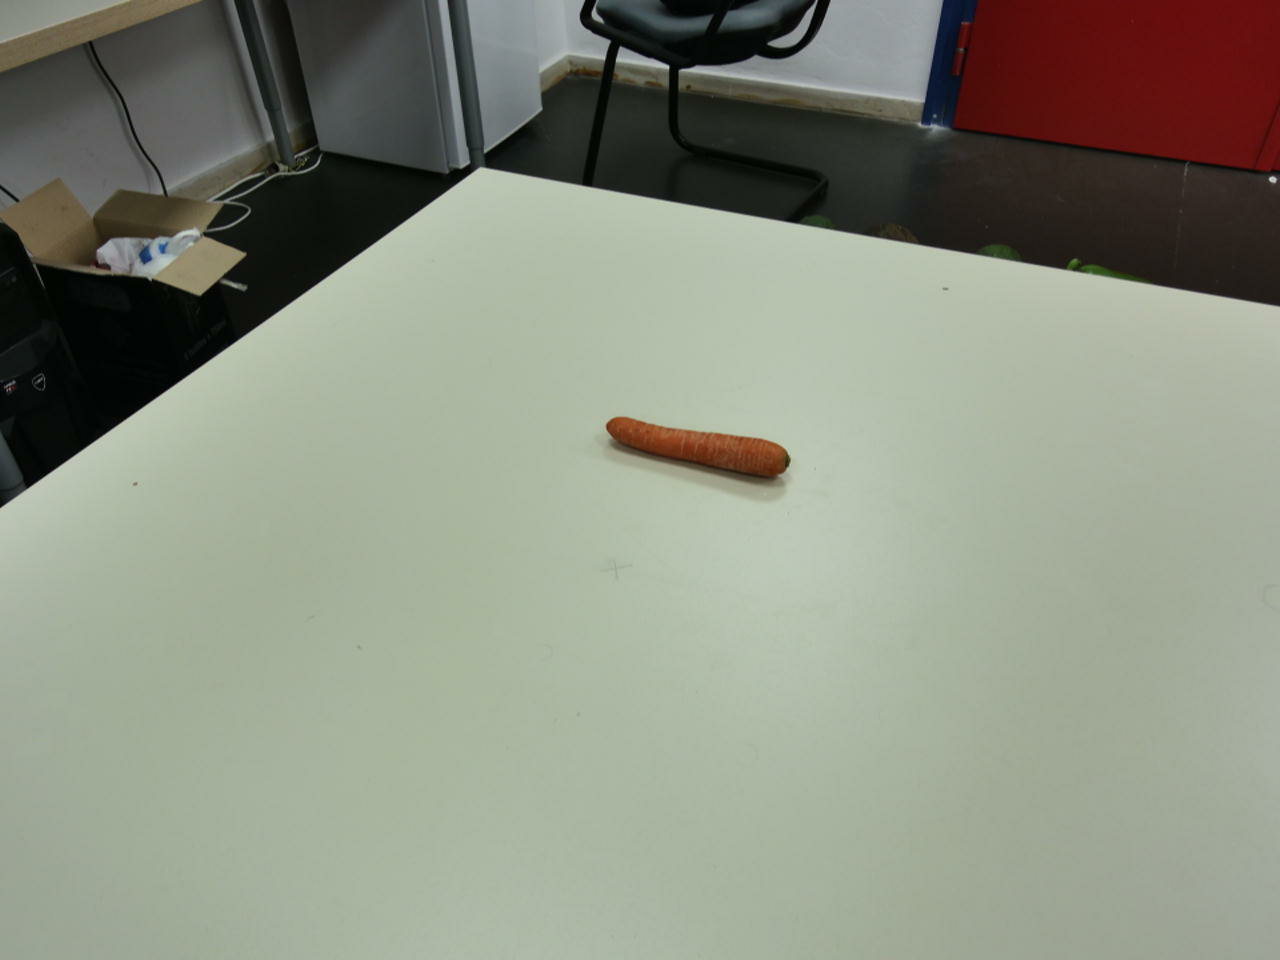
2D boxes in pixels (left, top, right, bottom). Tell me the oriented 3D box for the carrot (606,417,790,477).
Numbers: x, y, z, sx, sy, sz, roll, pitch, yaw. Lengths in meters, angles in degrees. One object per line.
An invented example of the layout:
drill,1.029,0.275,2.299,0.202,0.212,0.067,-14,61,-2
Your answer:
carrot,0.035,-0.023,0.636,0.122,0.023,0.024,14,40,17
